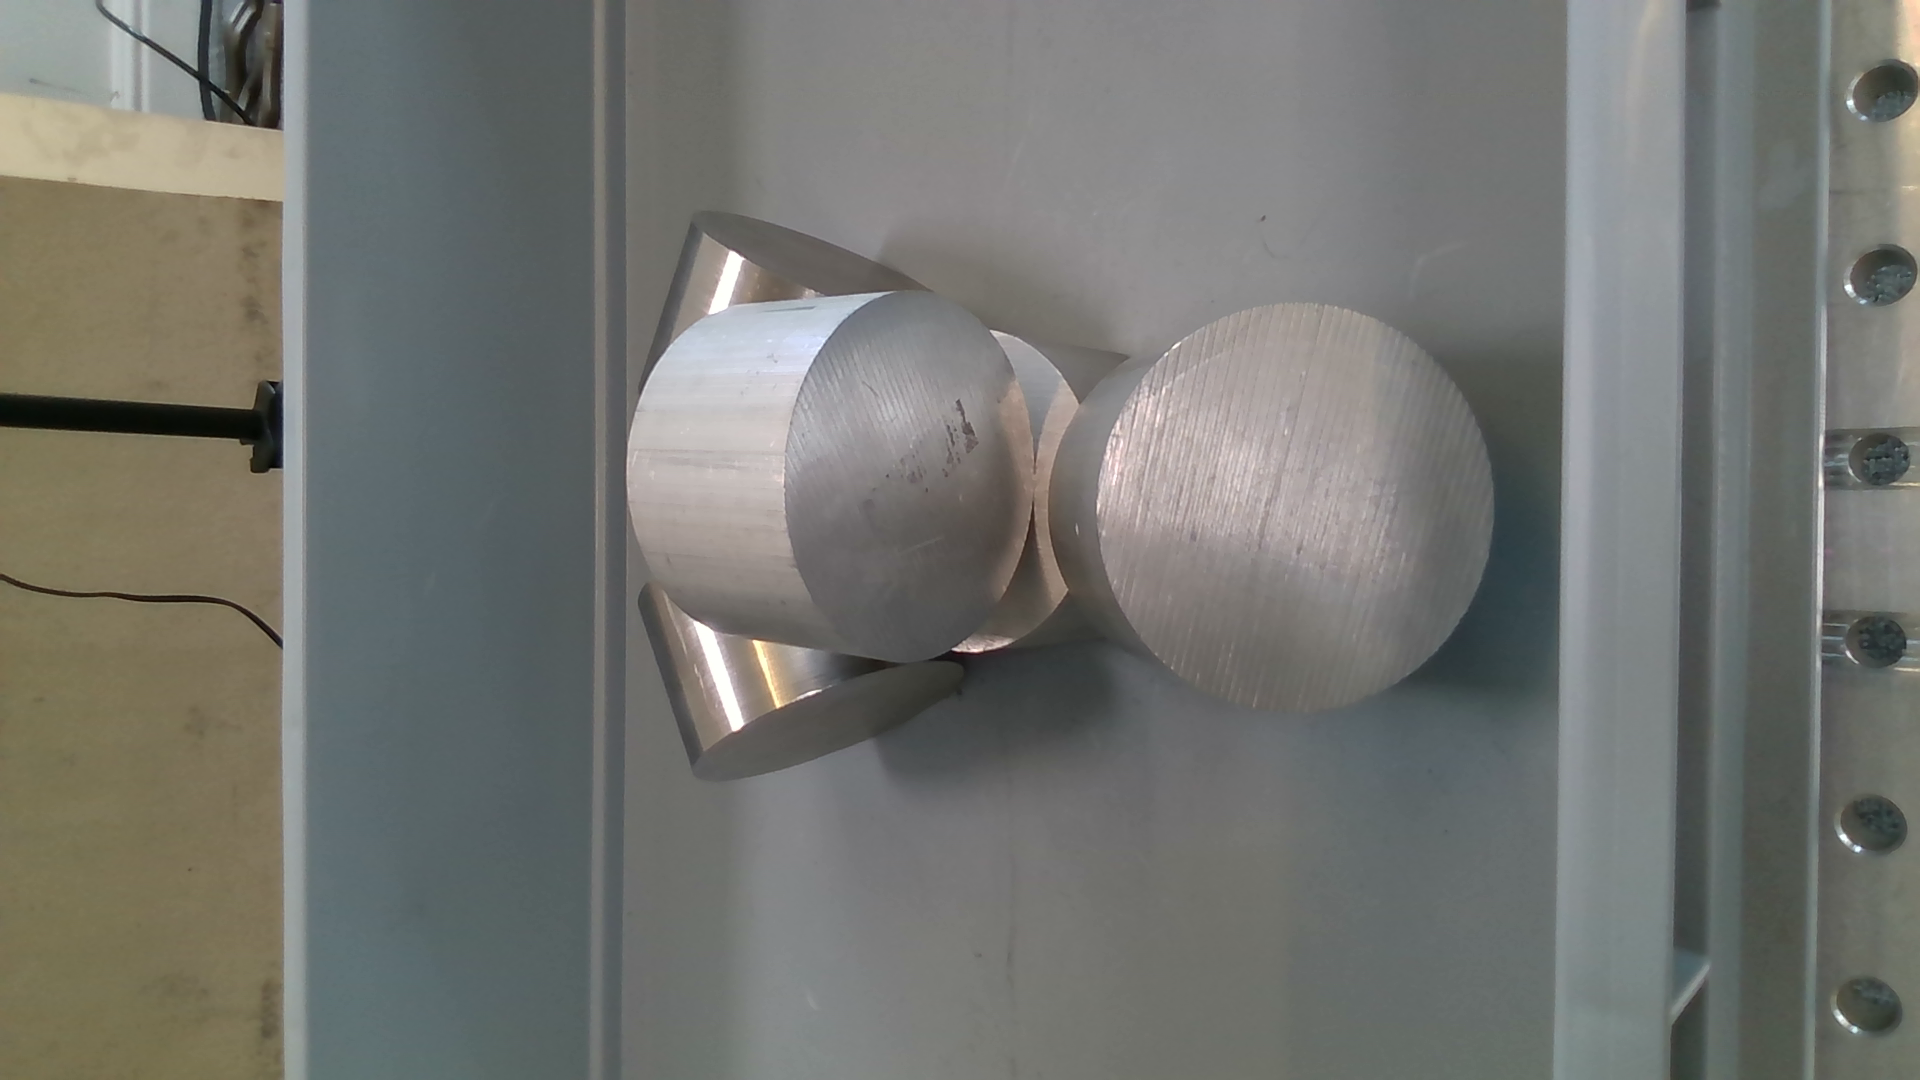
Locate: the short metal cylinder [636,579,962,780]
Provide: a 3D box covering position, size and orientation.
[{"bbox_3d":[-0.046,0.029,0.392,0.080,0.080,0.050,-36,67,35],"label":"short metal cylinder"}]

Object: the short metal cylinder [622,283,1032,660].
[{"bbox_3d":[-0.028,-0.016,0.311,0.050,0.080,0.080,4,93,40],"label":"short metal cylinder"}]

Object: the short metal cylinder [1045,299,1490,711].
[{"bbox_3d":[0.062,-0.008,0.293,0.050,0.080,0.080,-156,69,-82],"label":"short metal cylinder"}]

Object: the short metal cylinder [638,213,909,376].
[{"bbox_3d":[-0.046,-0.054,0.391,0.080,0.080,0.050,36,112,34],"label":"short metal cylinder"}]

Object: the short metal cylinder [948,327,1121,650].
[{"bbox_3d":[0.016,-0.013,0.358,0.080,0.050,0.080,0,91,40],"label":"short metal cylinder"}]
